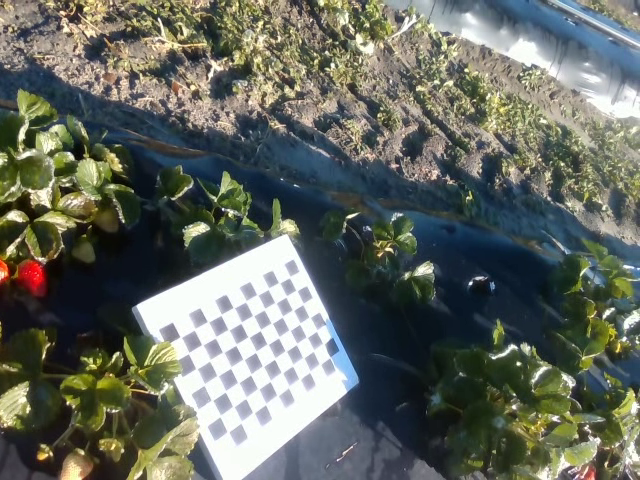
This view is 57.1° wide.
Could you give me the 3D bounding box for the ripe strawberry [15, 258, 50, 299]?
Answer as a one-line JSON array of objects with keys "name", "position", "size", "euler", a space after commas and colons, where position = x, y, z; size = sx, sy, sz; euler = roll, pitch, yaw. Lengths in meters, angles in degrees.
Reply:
[{"name": "ripe strawberry", "position": [-0.411, 0.053, 0.840], "size": [0.043, 0.059, 0.040], "euler": [-27, -4, -41]}]
